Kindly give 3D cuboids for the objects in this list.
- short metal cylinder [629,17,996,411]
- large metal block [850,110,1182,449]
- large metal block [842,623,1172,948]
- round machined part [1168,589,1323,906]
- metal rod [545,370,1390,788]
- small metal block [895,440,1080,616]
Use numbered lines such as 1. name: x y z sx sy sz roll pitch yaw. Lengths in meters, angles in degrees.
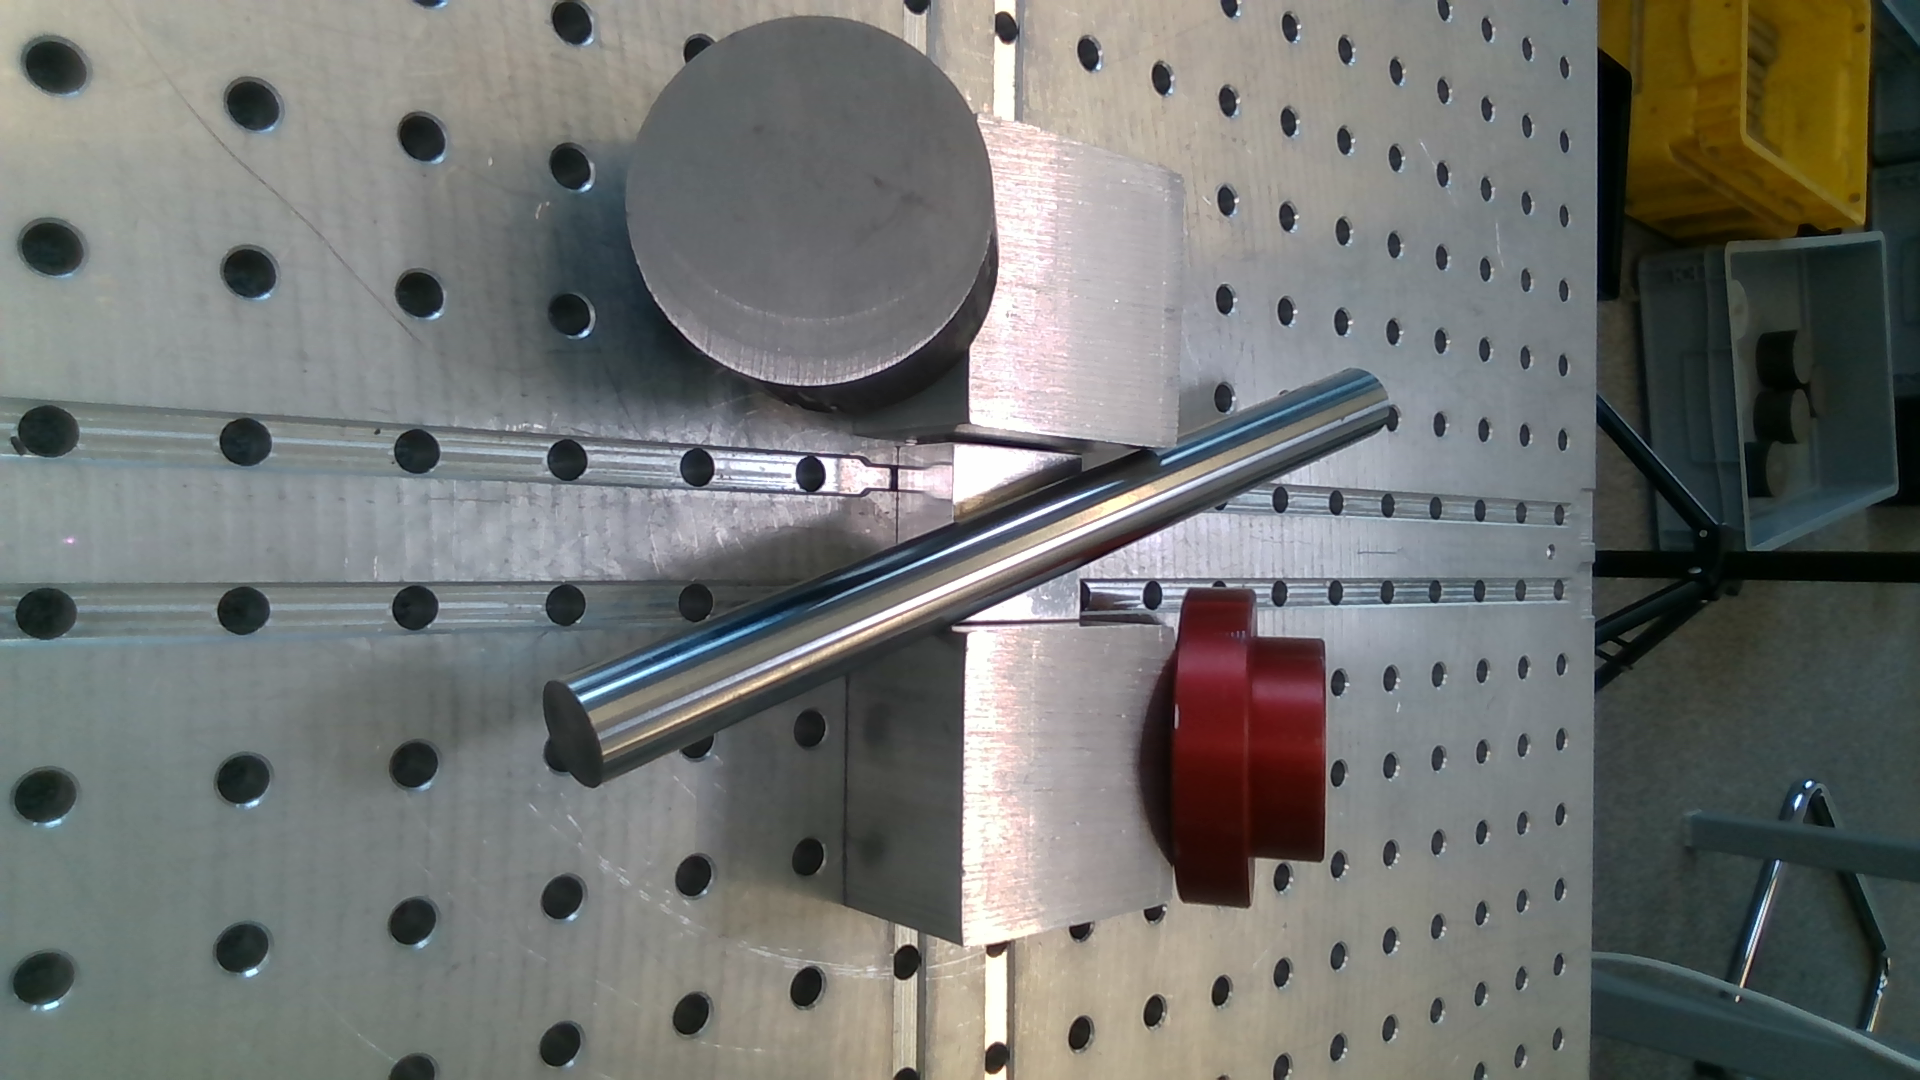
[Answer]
1. short metal cylinder: -0.031 -0.073 0.324 0.080 0.050 0.080 0 89 3
2. large metal block: 0.017 -0.068 0.393 0.080 0.050 0.080 3 88 -40
3. large metal block: 0.014 0.063 0.391 0.080 0.050 0.080 1 89 -40
4. round machined part: 0.091 0.064 0.428 0.098 0.042 0.098 1 89 -75
5. metal rod: 0.028 -0.003 0.384 0.300 0.025 0.025 -22 104 -38
6. small metal block: 0.008 -0.002 0.402 0.050 0.025 0.050 1 90 -40
